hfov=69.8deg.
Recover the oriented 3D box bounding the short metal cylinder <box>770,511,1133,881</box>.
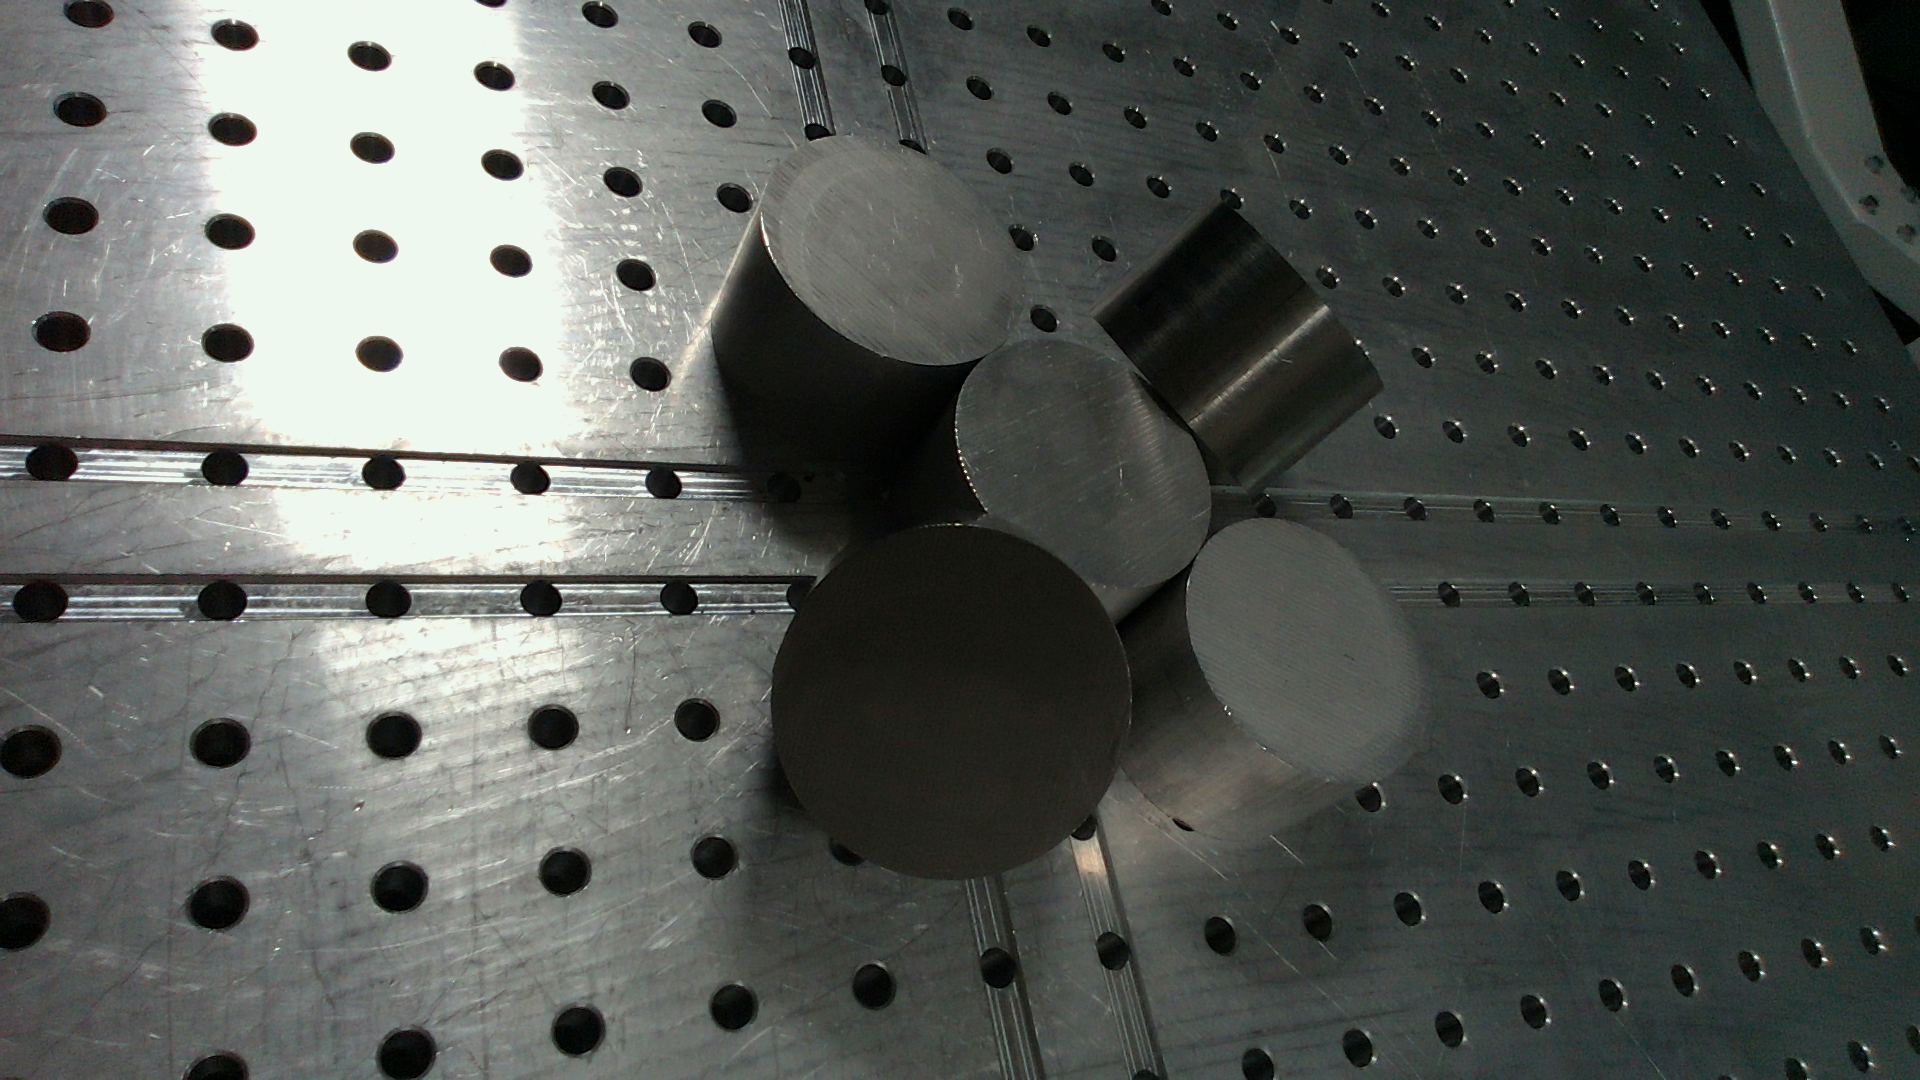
[{"bbox_3d":[-0.003,0.034,0.328,0.080,0.050,0.080,0,95,-2],"label":"short metal cylinder"}]

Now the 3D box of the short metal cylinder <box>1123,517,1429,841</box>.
[{"bbox_3d":[0.087,0.041,0.398,0.080,0.050,0.080,14,56,-21],"label":"short metal cylinder"}]

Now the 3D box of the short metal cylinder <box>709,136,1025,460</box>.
[{"bbox_3d":[-0.028,-0.071,0.405,0.080,0.050,0.080,14,56,-21],"label":"short metal cylinder"}]

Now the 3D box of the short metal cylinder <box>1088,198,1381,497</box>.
[{"bbox_3d":[0.086,-0.060,0.433,0.080,0.050,0.080,46,10,-10],"label":"short metal cylinder"}]

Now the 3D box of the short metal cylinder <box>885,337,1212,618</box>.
[{"bbox_3d":[0.025,-0.011,0.396,0.080,0.050,0.080,14,56,-21],"label":"short metal cylinder"}]
